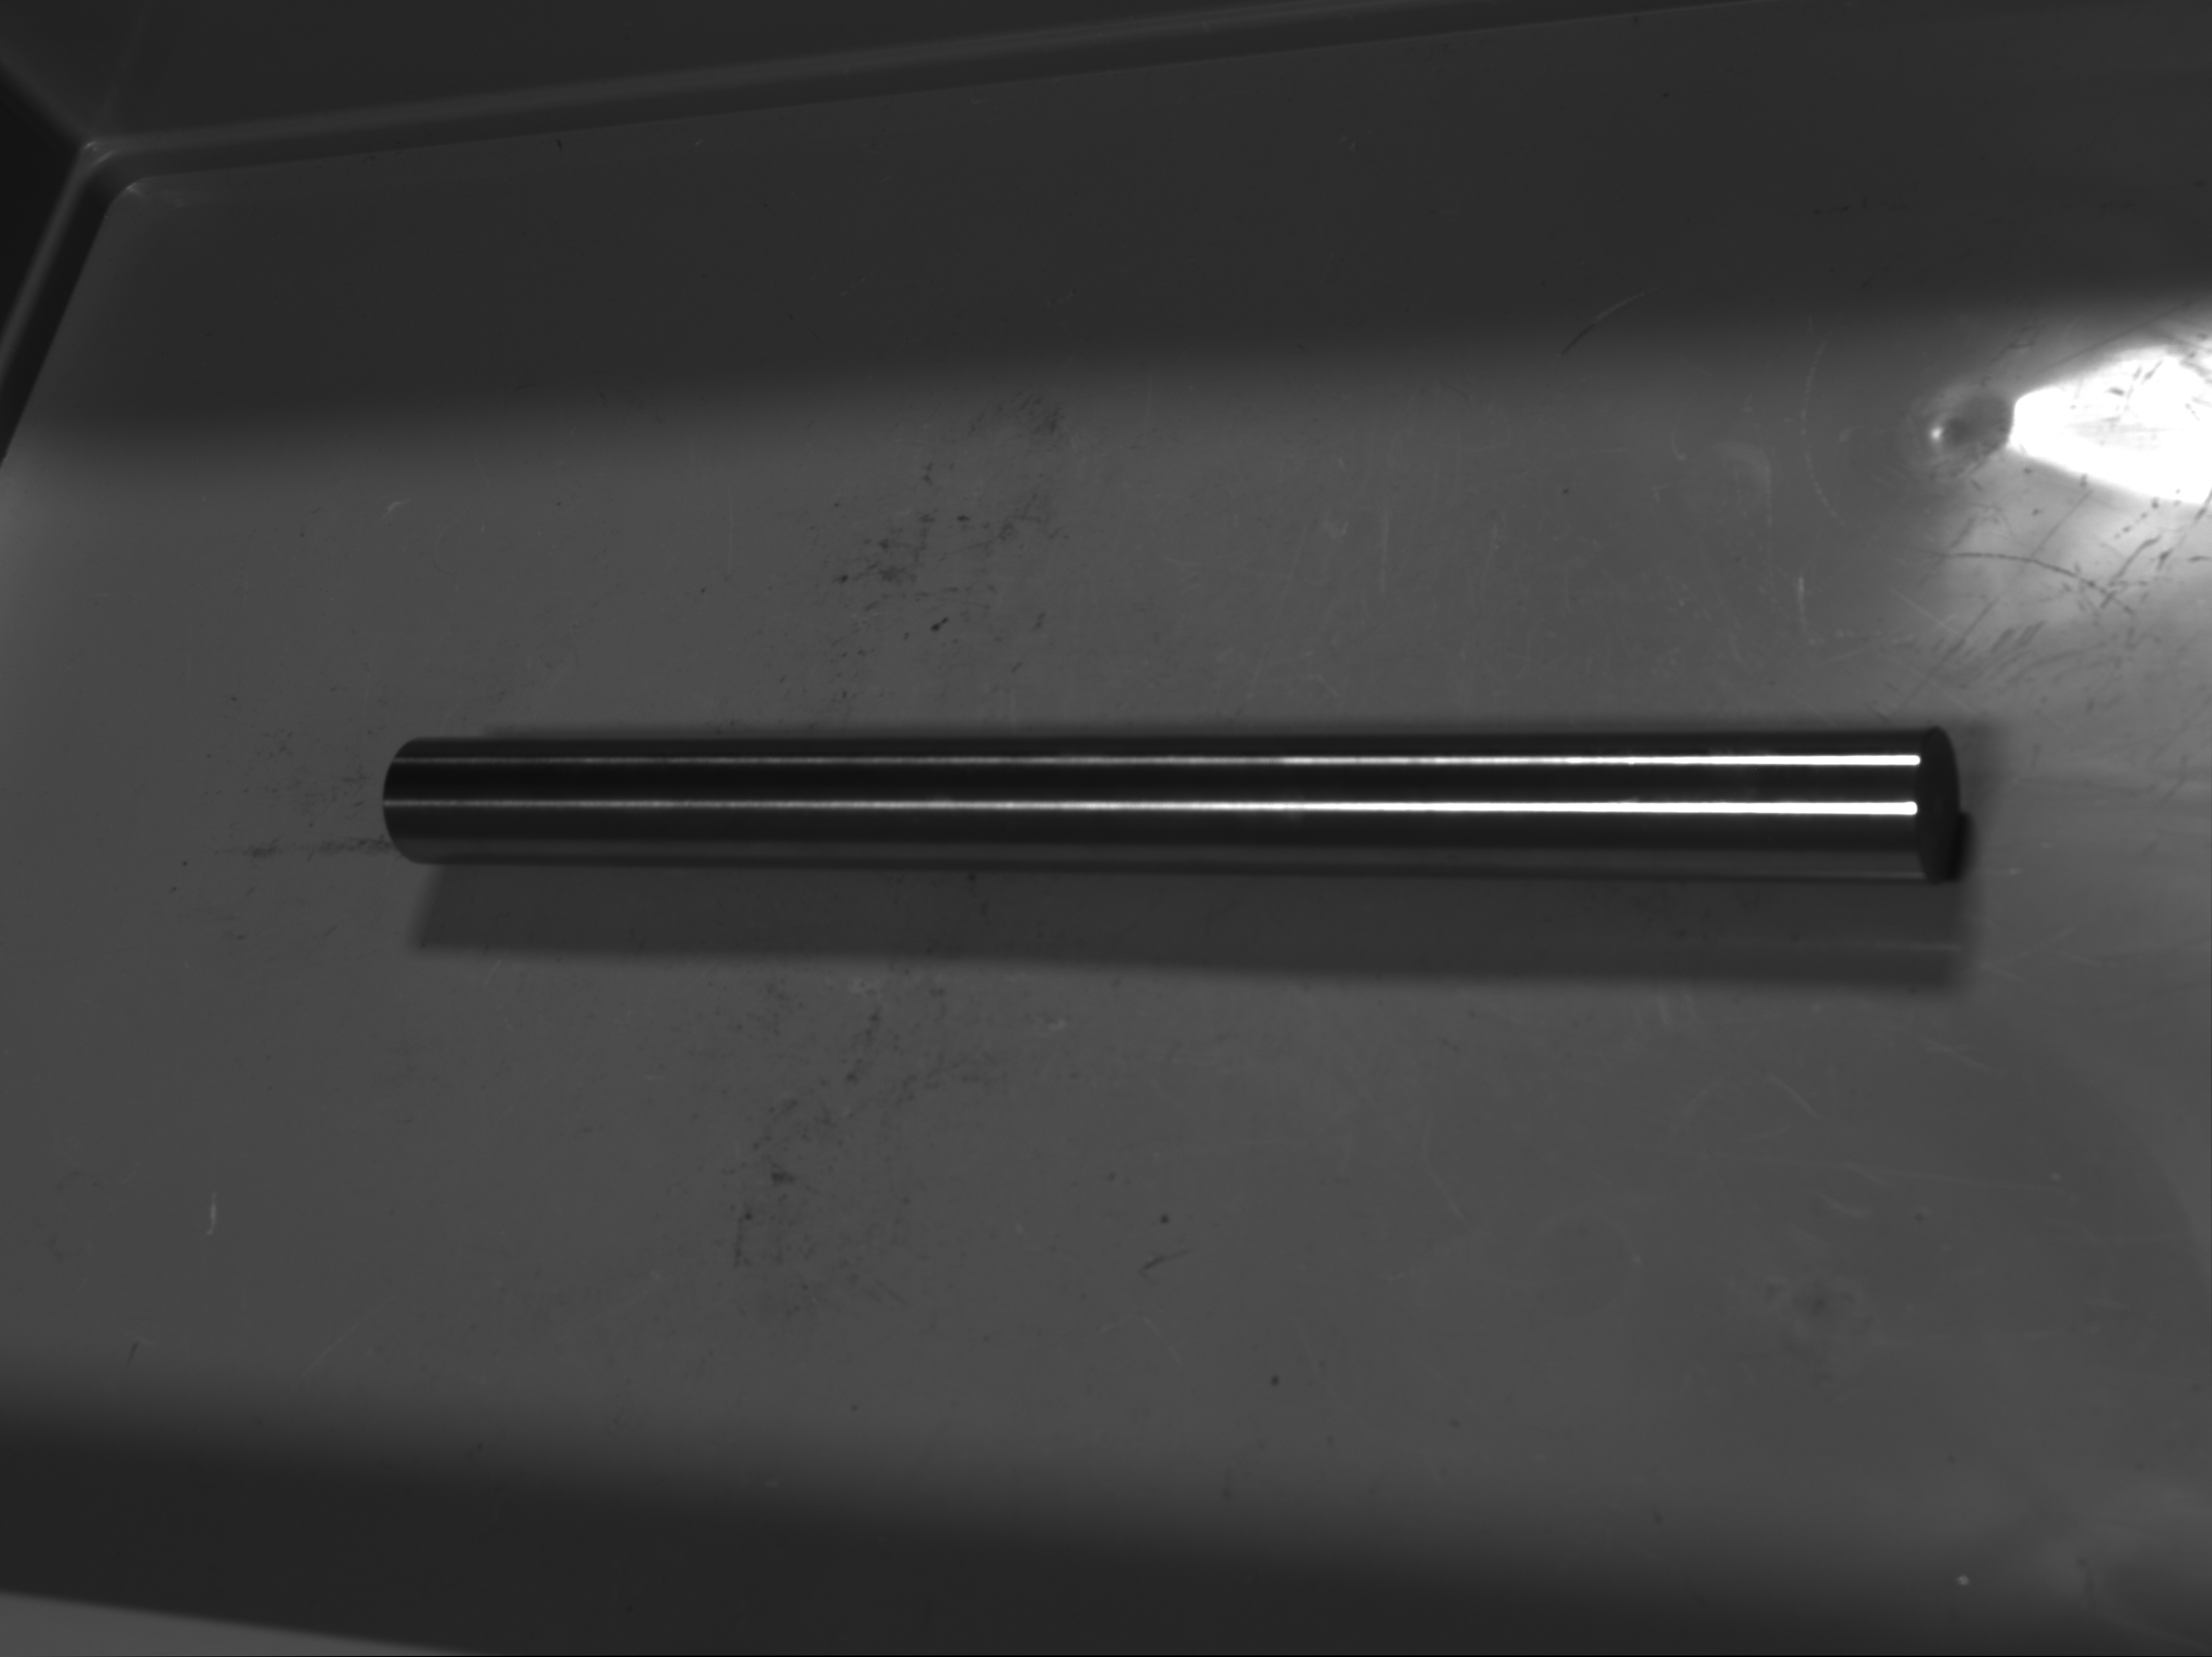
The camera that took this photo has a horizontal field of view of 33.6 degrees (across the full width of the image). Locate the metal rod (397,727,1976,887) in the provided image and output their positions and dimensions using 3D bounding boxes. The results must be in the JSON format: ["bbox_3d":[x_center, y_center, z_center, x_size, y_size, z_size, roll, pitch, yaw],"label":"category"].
[{"bbox_3d":[0.001,-0.004,0.644,0.299,0.025,0.025,0,62,28],"label":"metal rod"}]
